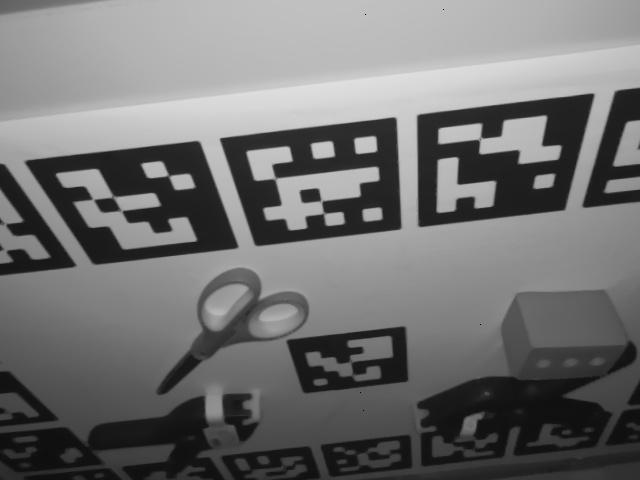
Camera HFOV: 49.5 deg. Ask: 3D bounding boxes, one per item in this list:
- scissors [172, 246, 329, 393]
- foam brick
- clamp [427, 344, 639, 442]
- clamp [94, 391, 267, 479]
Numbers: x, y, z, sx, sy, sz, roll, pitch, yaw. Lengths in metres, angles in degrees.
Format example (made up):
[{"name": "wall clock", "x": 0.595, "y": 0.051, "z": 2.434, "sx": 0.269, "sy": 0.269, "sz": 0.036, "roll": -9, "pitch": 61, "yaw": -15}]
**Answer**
[{"name": "scissors", "x": -0.073, "y": 0.079, "z": 0.568, "sx": 0.088, "sy": 0.016, "sz": 0.199, "roll": 28, "pitch": 129, "yaw": -20}, {"name": "foam brick", "x": 0.209, "y": 0.071, "z": 0.569, "sx": 0.078, "sy": 0.051, "sz": 0.052, "roll": -4, "pitch": 135, "yaw": -8}, {"name": "clamp", "x": 0.206, "y": 0.161, "z": 0.671, "sx": 0.202, "sy": 0.037, "sz": 0.164, "roll": -9, "pitch": 139, "yaw": 5}, {"name": "clamp", "x": -0.120, "y": 0.187, "z": 0.672, "sx": 0.163, "sy": 0.037, "sz": 0.122, "roll": -27, "pitch": 125, "yaw": 20}]
